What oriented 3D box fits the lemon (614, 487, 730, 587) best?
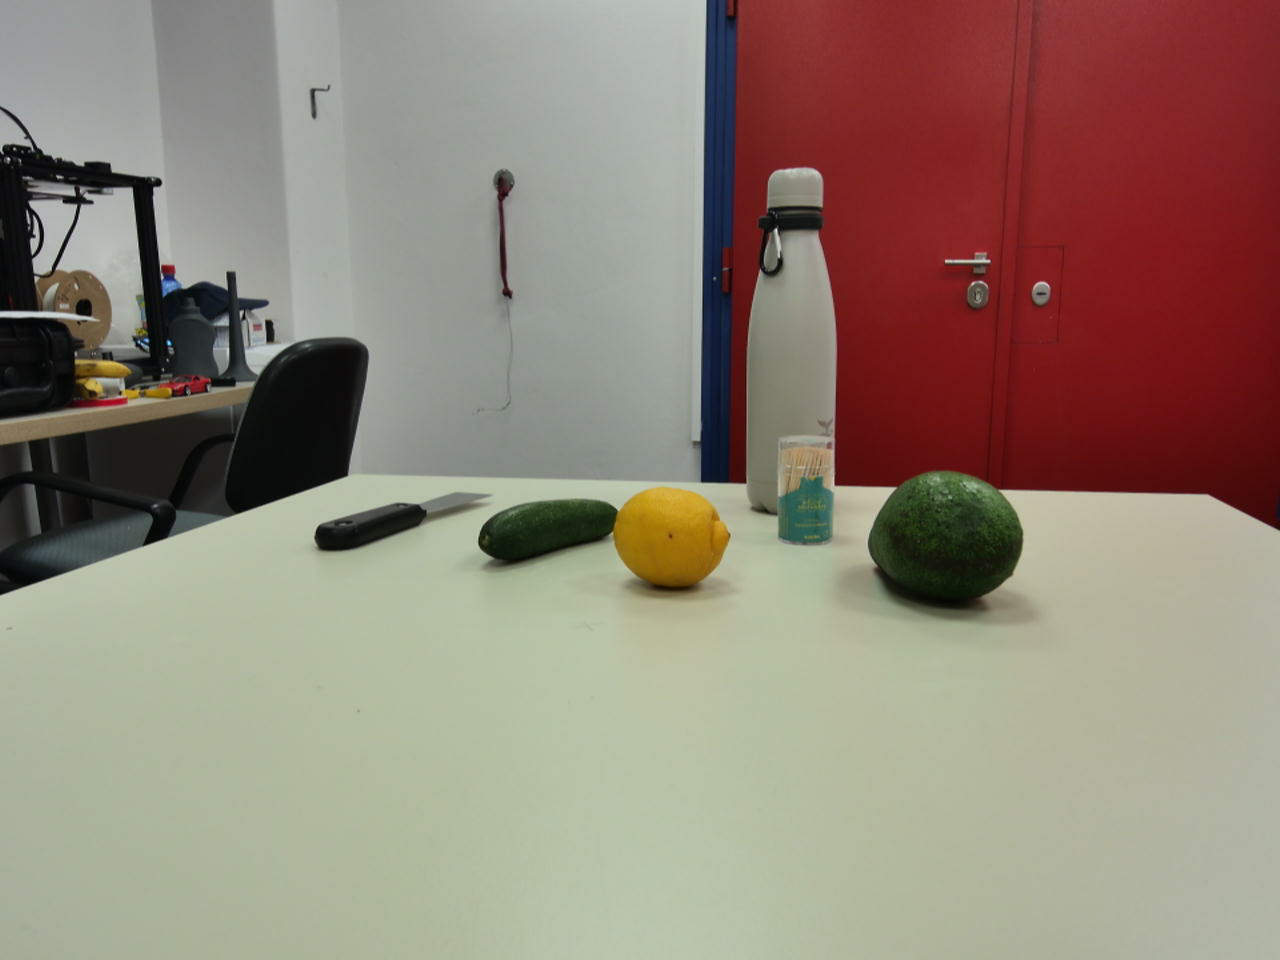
[{"bbox_3d":[0.018,0.034,0.603,0.060,0.059,0.067,-4,9,-36],"label":"lemon"}]
